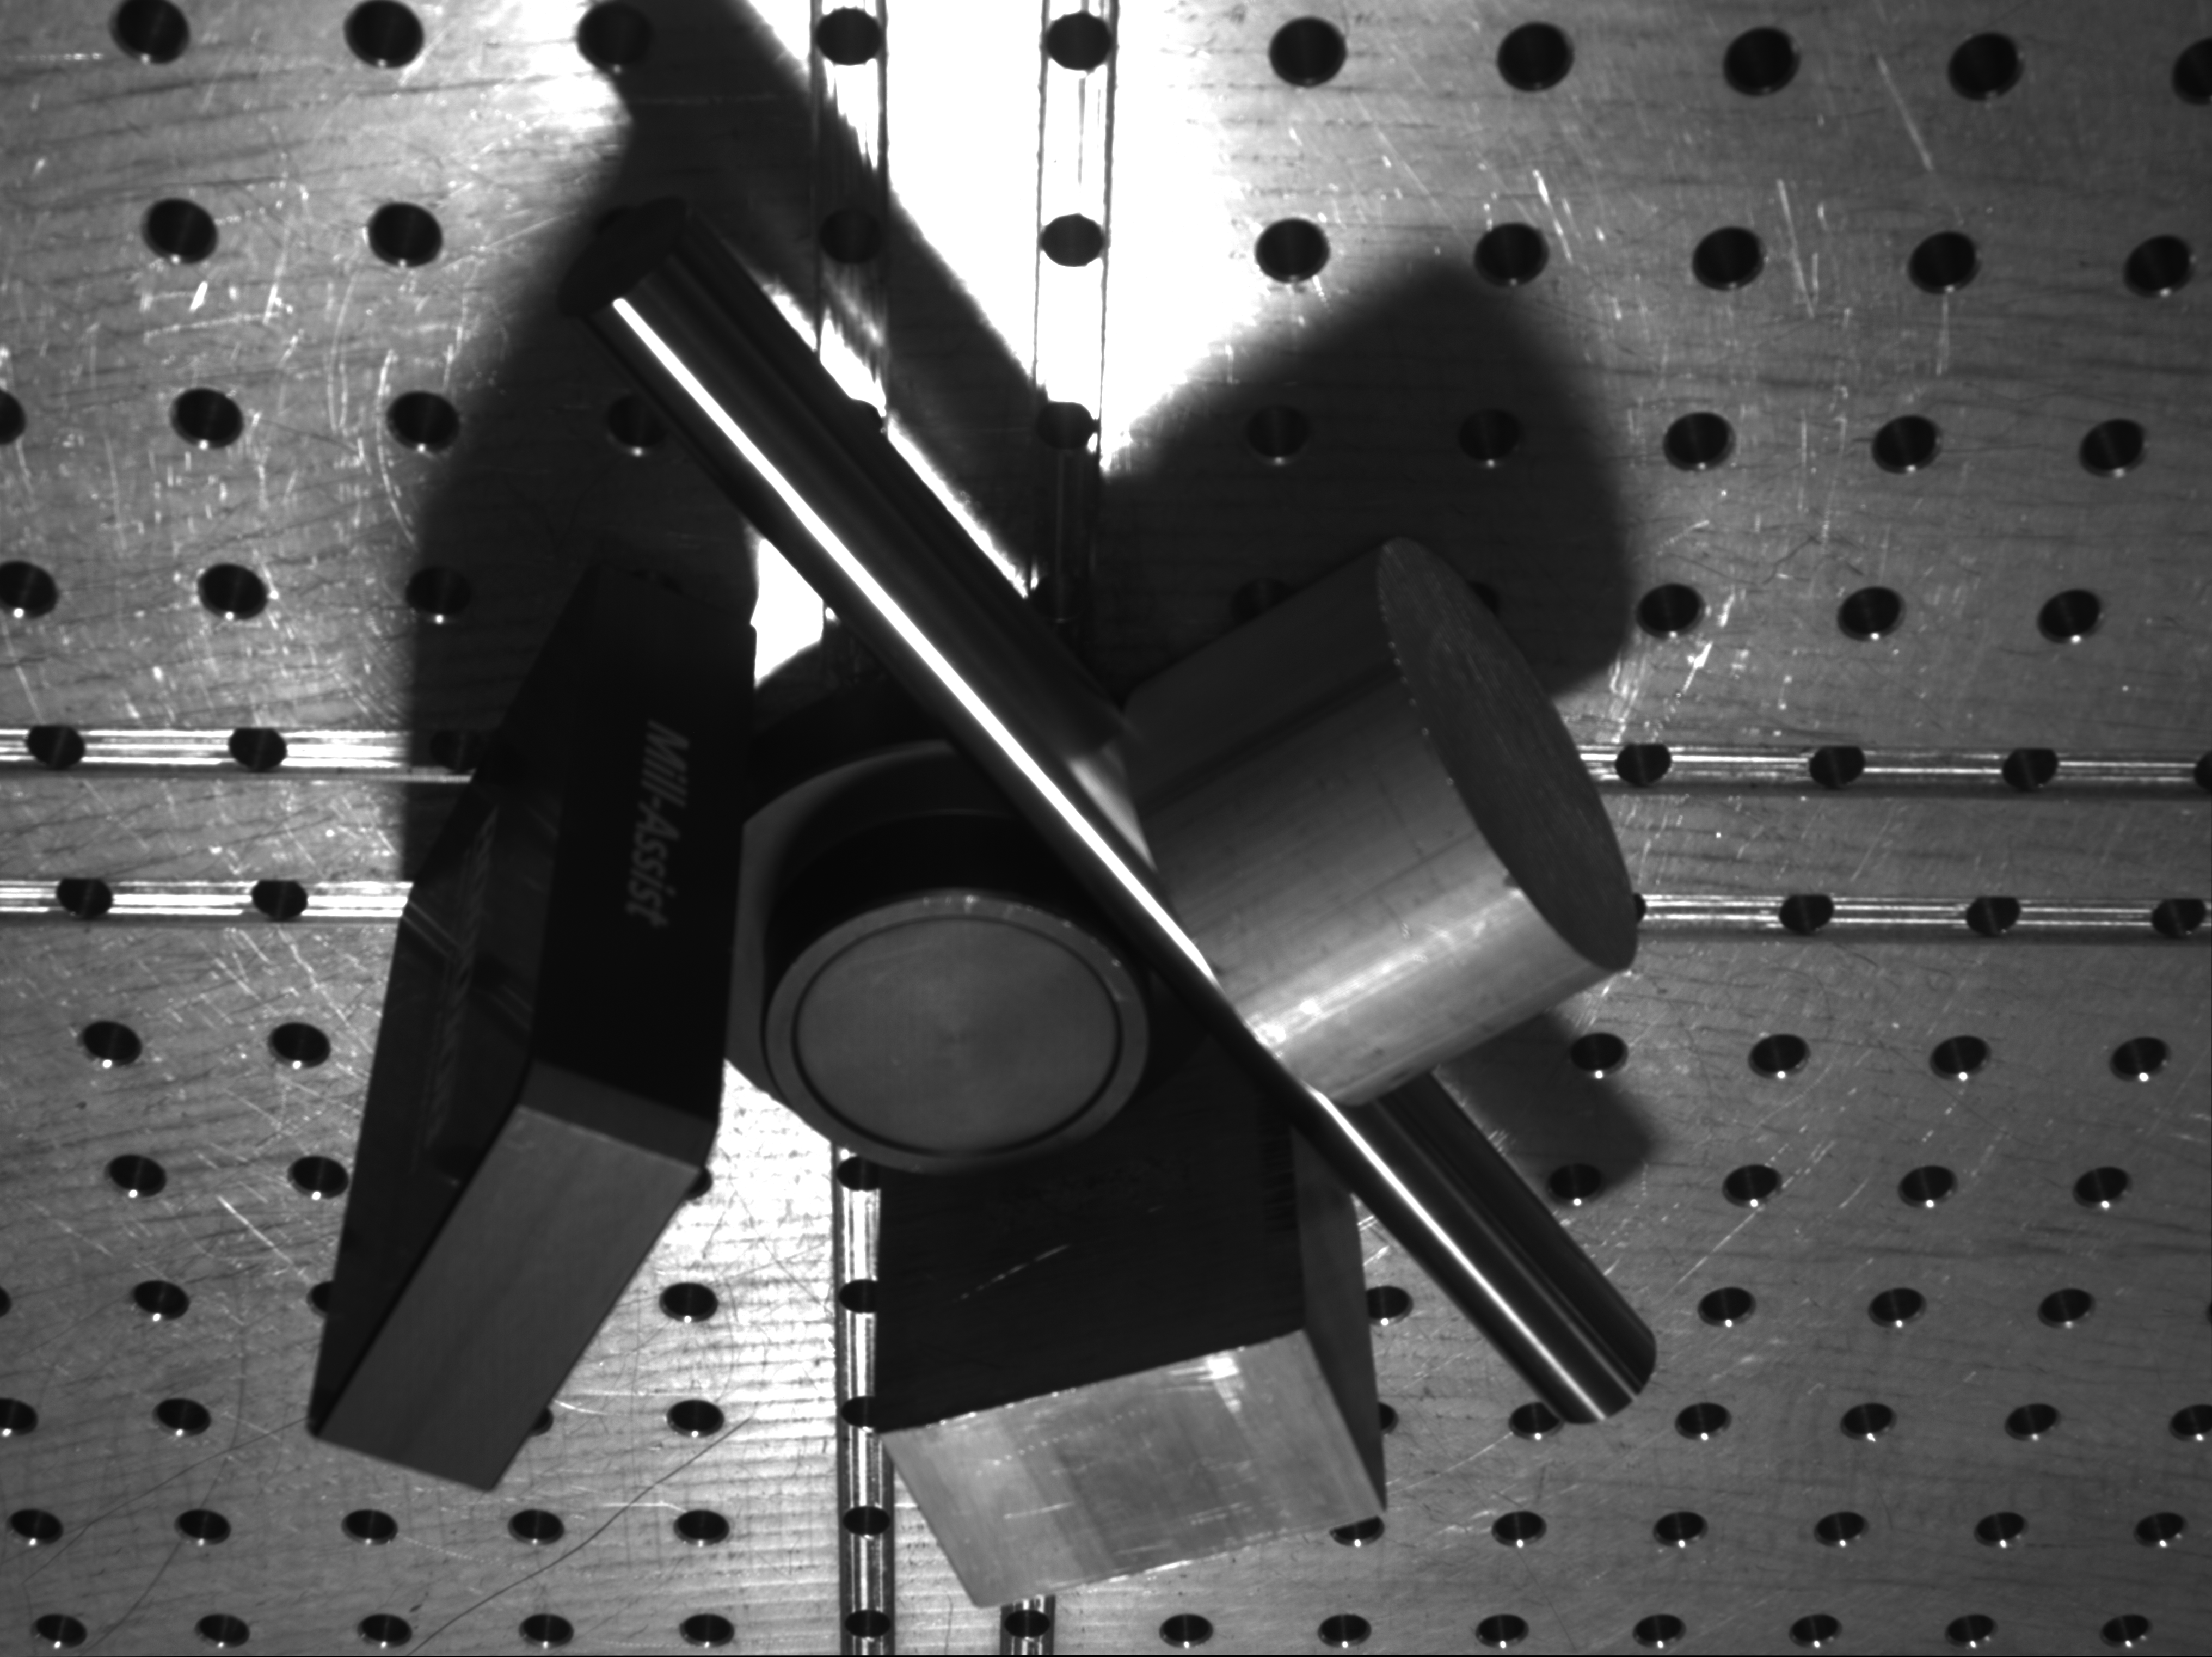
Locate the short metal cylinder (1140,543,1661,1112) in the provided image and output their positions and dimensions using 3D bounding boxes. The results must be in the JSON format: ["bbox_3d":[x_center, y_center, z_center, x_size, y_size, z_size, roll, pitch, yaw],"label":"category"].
[{"bbox_3d":[0.049,0.000,0.606,0.050,0.080,0.080,-30,125,21],"label":"short metal cylinder"}]

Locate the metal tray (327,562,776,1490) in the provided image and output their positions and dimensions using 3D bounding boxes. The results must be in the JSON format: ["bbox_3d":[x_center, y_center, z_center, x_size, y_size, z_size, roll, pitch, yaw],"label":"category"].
[{"bbox_3d":[-0.089,0.030,0.595,0.030,0.130,0.090,22,126,-18],"label":"metal tray"}]

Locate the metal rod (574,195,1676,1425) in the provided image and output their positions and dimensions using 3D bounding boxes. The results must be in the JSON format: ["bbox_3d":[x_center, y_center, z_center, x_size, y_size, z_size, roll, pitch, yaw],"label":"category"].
[{"bbox_3d":[0.015,0.010,0.622,0.025,0.025,0.301,-28,125,20],"label":"metal rod"}]

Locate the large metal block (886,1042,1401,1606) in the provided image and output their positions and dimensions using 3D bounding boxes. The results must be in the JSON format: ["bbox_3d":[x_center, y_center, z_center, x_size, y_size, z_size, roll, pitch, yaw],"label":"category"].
[{"bbox_3d":[0.006,0.089,0.680,0.080,0.080,0.050,-15,129,11],"label":"large metal block"}]

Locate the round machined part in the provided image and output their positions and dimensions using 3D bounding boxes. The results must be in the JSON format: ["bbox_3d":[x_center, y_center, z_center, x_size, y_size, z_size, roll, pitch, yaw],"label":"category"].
[{"bbox_3d":[-0.023,0.024,0.649,0.098,0.042,0.098,-1,130,-1],"label":"round machined part"}]
